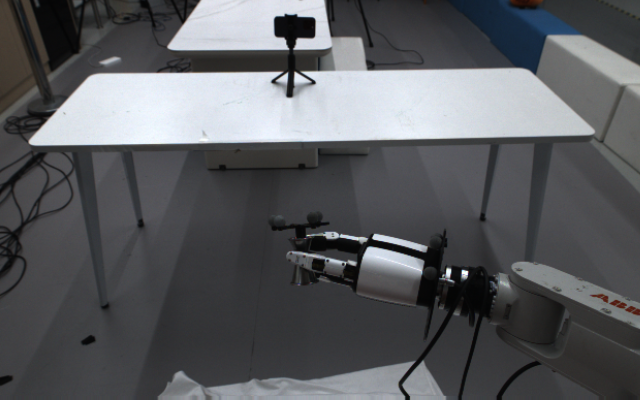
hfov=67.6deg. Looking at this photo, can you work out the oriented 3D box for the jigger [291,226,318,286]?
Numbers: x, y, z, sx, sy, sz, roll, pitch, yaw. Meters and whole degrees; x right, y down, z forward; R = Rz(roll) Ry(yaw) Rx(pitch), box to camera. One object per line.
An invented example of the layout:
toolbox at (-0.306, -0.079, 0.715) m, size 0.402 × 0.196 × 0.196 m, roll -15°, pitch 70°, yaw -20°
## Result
jigger at (-0.026, 0.088, 0.716) m, size 0.043 × 0.071 × 0.043 m, roll -4°, pitch 1°, yaw 0°
